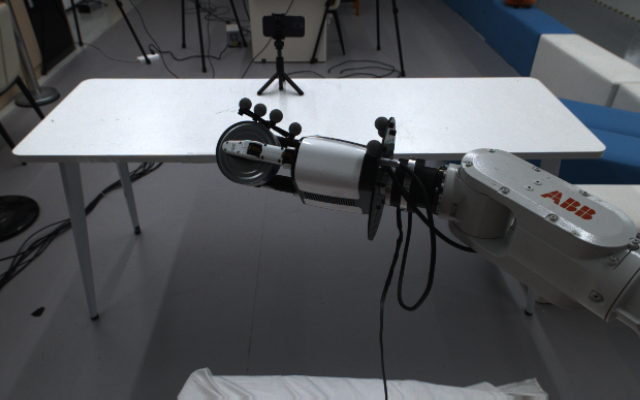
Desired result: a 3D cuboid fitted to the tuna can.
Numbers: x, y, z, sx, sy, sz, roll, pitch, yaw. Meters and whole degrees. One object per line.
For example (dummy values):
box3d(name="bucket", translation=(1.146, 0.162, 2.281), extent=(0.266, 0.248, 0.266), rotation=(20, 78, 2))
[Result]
box3d(name="tuna can", translation=(-0.095, -0.061, 0.658), extent=(0.085, 0.085, 0.034), rotation=(10, -4, 11))
